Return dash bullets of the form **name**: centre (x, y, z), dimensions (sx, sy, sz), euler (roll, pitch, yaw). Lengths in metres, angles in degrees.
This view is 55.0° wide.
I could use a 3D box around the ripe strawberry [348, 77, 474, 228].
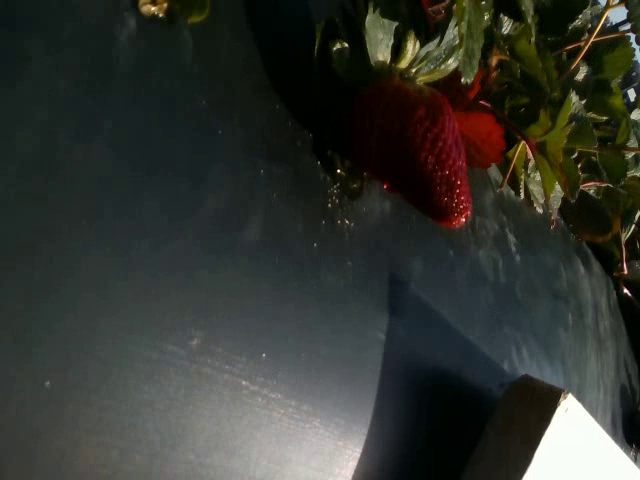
- **ripe strawberry**: centre (0.030, -0.025, 0.180), dimensions (0.040, 0.056, 0.041), euler (-22, -16, -33)
